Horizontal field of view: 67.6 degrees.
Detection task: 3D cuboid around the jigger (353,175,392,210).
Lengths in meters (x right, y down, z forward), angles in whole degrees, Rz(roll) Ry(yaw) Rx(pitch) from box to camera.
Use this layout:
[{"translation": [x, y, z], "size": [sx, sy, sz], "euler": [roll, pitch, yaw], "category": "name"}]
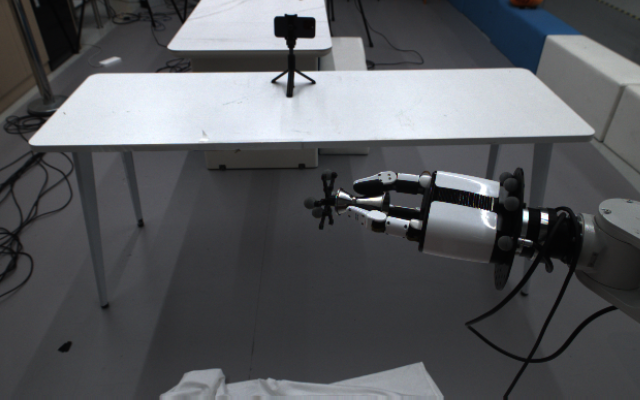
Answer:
[{"translation": [0.066, -0.001, 0.673], "size": [0.071, 0.043, 0.043], "euler": [5, 34, 21], "category": "jigger"}]
